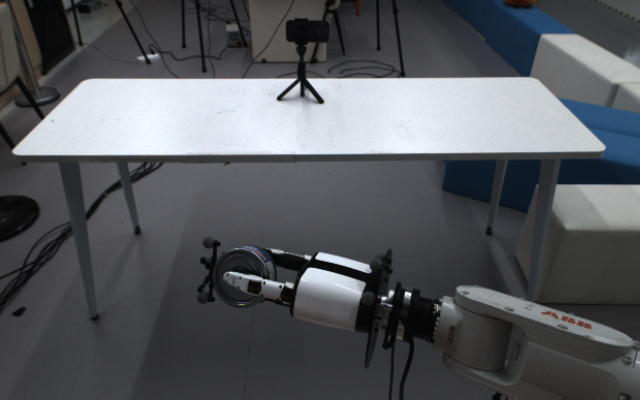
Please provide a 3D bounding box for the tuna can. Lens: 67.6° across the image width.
[{"bbox_3d":[-0.103,0.107,0.678,0.085,0.085,0.034,10,3,12],"label":"tuna can"}]
